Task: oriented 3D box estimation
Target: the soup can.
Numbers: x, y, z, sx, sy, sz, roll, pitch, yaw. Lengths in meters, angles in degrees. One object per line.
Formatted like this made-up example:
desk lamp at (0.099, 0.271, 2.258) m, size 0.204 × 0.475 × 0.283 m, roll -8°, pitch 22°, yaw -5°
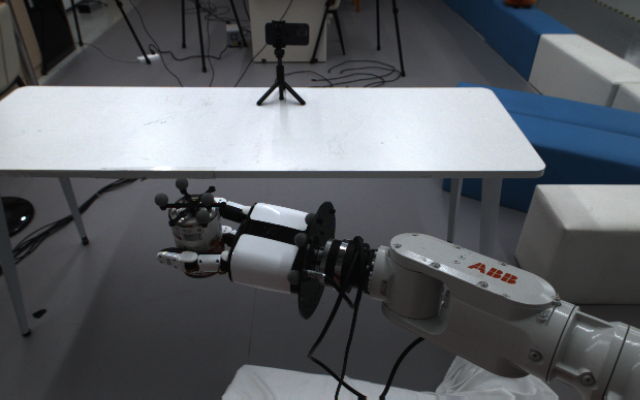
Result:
soup can at (-0.168, 0.053, 0.677) m, size 0.067 × 0.101 × 0.067 m, roll 1°, pitch 39°, yaw -1°
